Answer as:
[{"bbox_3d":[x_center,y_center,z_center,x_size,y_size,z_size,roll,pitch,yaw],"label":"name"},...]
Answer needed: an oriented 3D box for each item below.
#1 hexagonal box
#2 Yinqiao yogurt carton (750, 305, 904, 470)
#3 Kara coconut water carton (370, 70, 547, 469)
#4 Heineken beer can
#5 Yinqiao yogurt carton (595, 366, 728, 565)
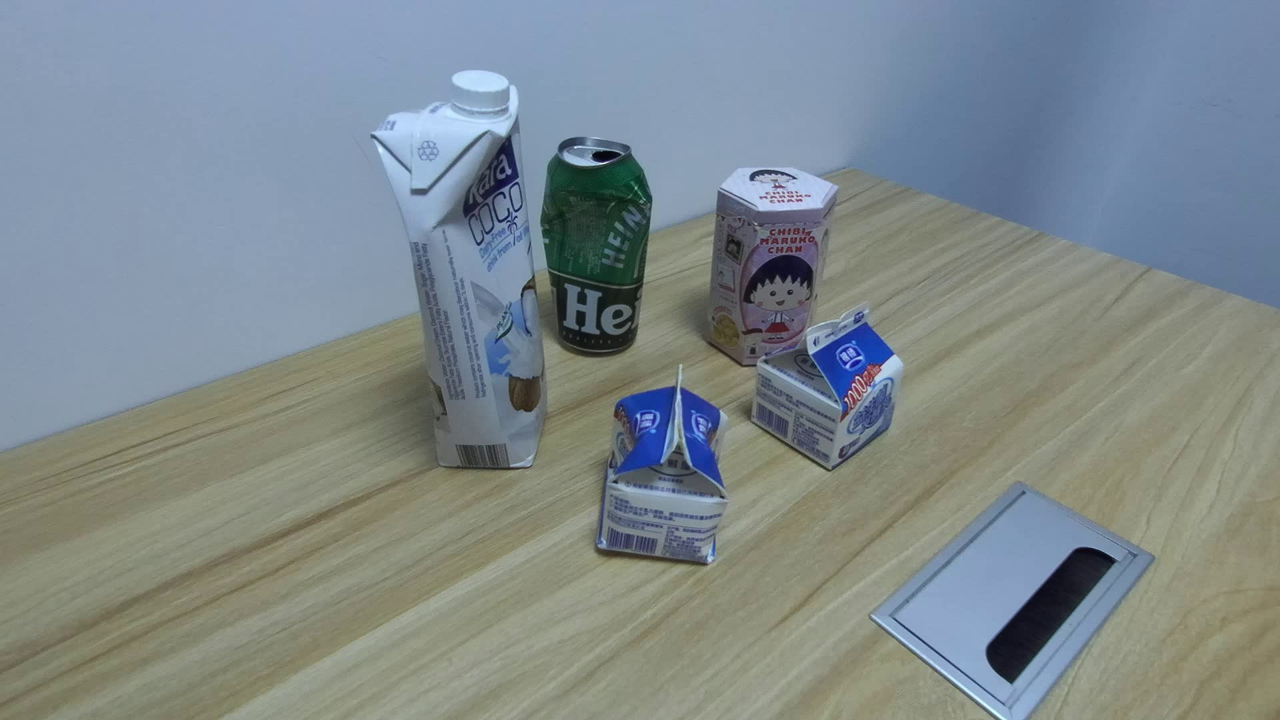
[{"bbox_3d":[0.100,-0.071,0.550,0.091,0.136,0.083,-3,34,-5],"label":"hexagonal box"},{"bbox_3d":[0.128,0.008,0.476,0.076,0.092,0.073,-25,40,-34],"label":"Yinqiao yogurt carton"},{"bbox_3d":[-0.098,-0.044,0.426,0.069,0.239,0.115,3,34,2],"label":"Kara coconut water carton"},{"bbox_3d":[-0.035,-0.085,0.548,0.066,0.164,0.077,-15,40,-22],"label":"Heineken beer can"},{"bbox_3d":[0.015,0.057,0.402,0.071,0.094,0.077,7,36,1],"label":"Yinqiao yogurt carton"}]
